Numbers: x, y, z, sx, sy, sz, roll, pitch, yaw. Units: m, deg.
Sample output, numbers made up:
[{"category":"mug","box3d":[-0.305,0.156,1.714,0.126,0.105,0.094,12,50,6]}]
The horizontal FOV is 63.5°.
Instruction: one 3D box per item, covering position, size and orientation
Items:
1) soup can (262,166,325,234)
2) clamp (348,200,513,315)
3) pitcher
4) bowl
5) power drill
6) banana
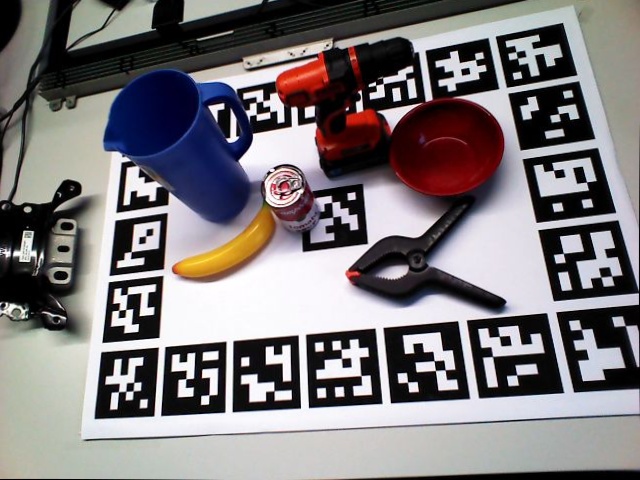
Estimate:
[{"category":"soup can","box3d":[-0.036,-0.061,0.759,0.068,0.102,0.067,-7,61,13]},{"category":"clamp","box3d":[0.140,0.034,0.705,0.204,0.036,0.164,-11,72,11]},{"category":"pitcher","box3d":[-0.174,-0.125,0.742,0.189,0.242,0.133,-31,63,2]},{"category":"bowl","box3d":[0.187,-0.123,0.745,0.162,0.055,0.161,-5,71,14]},{"category":"power drill","box3d":[0.057,-0.189,0.712,0.185,0.187,0.057,-13,68,9]},{"category":"banana","box3d":[-0.146,0.014,0.798,0.197,0.039,0.074,-31,58,1]}]
